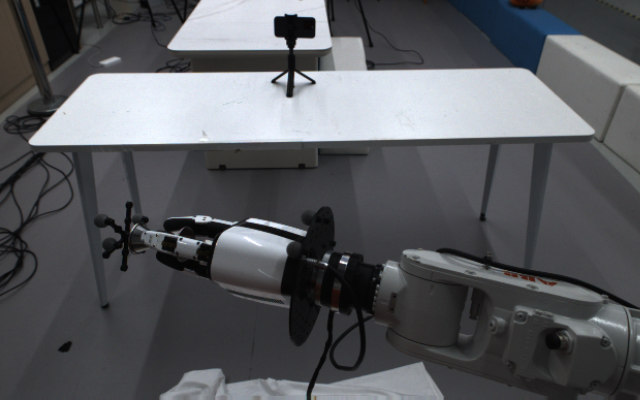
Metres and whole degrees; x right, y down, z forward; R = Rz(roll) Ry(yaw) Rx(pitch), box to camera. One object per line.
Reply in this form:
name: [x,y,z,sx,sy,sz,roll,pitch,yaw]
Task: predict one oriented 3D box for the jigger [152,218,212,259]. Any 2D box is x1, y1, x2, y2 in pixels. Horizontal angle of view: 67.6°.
jigger: [-0.189,0.047,0.605,0.071,0.043,0.043,4,34,15]
